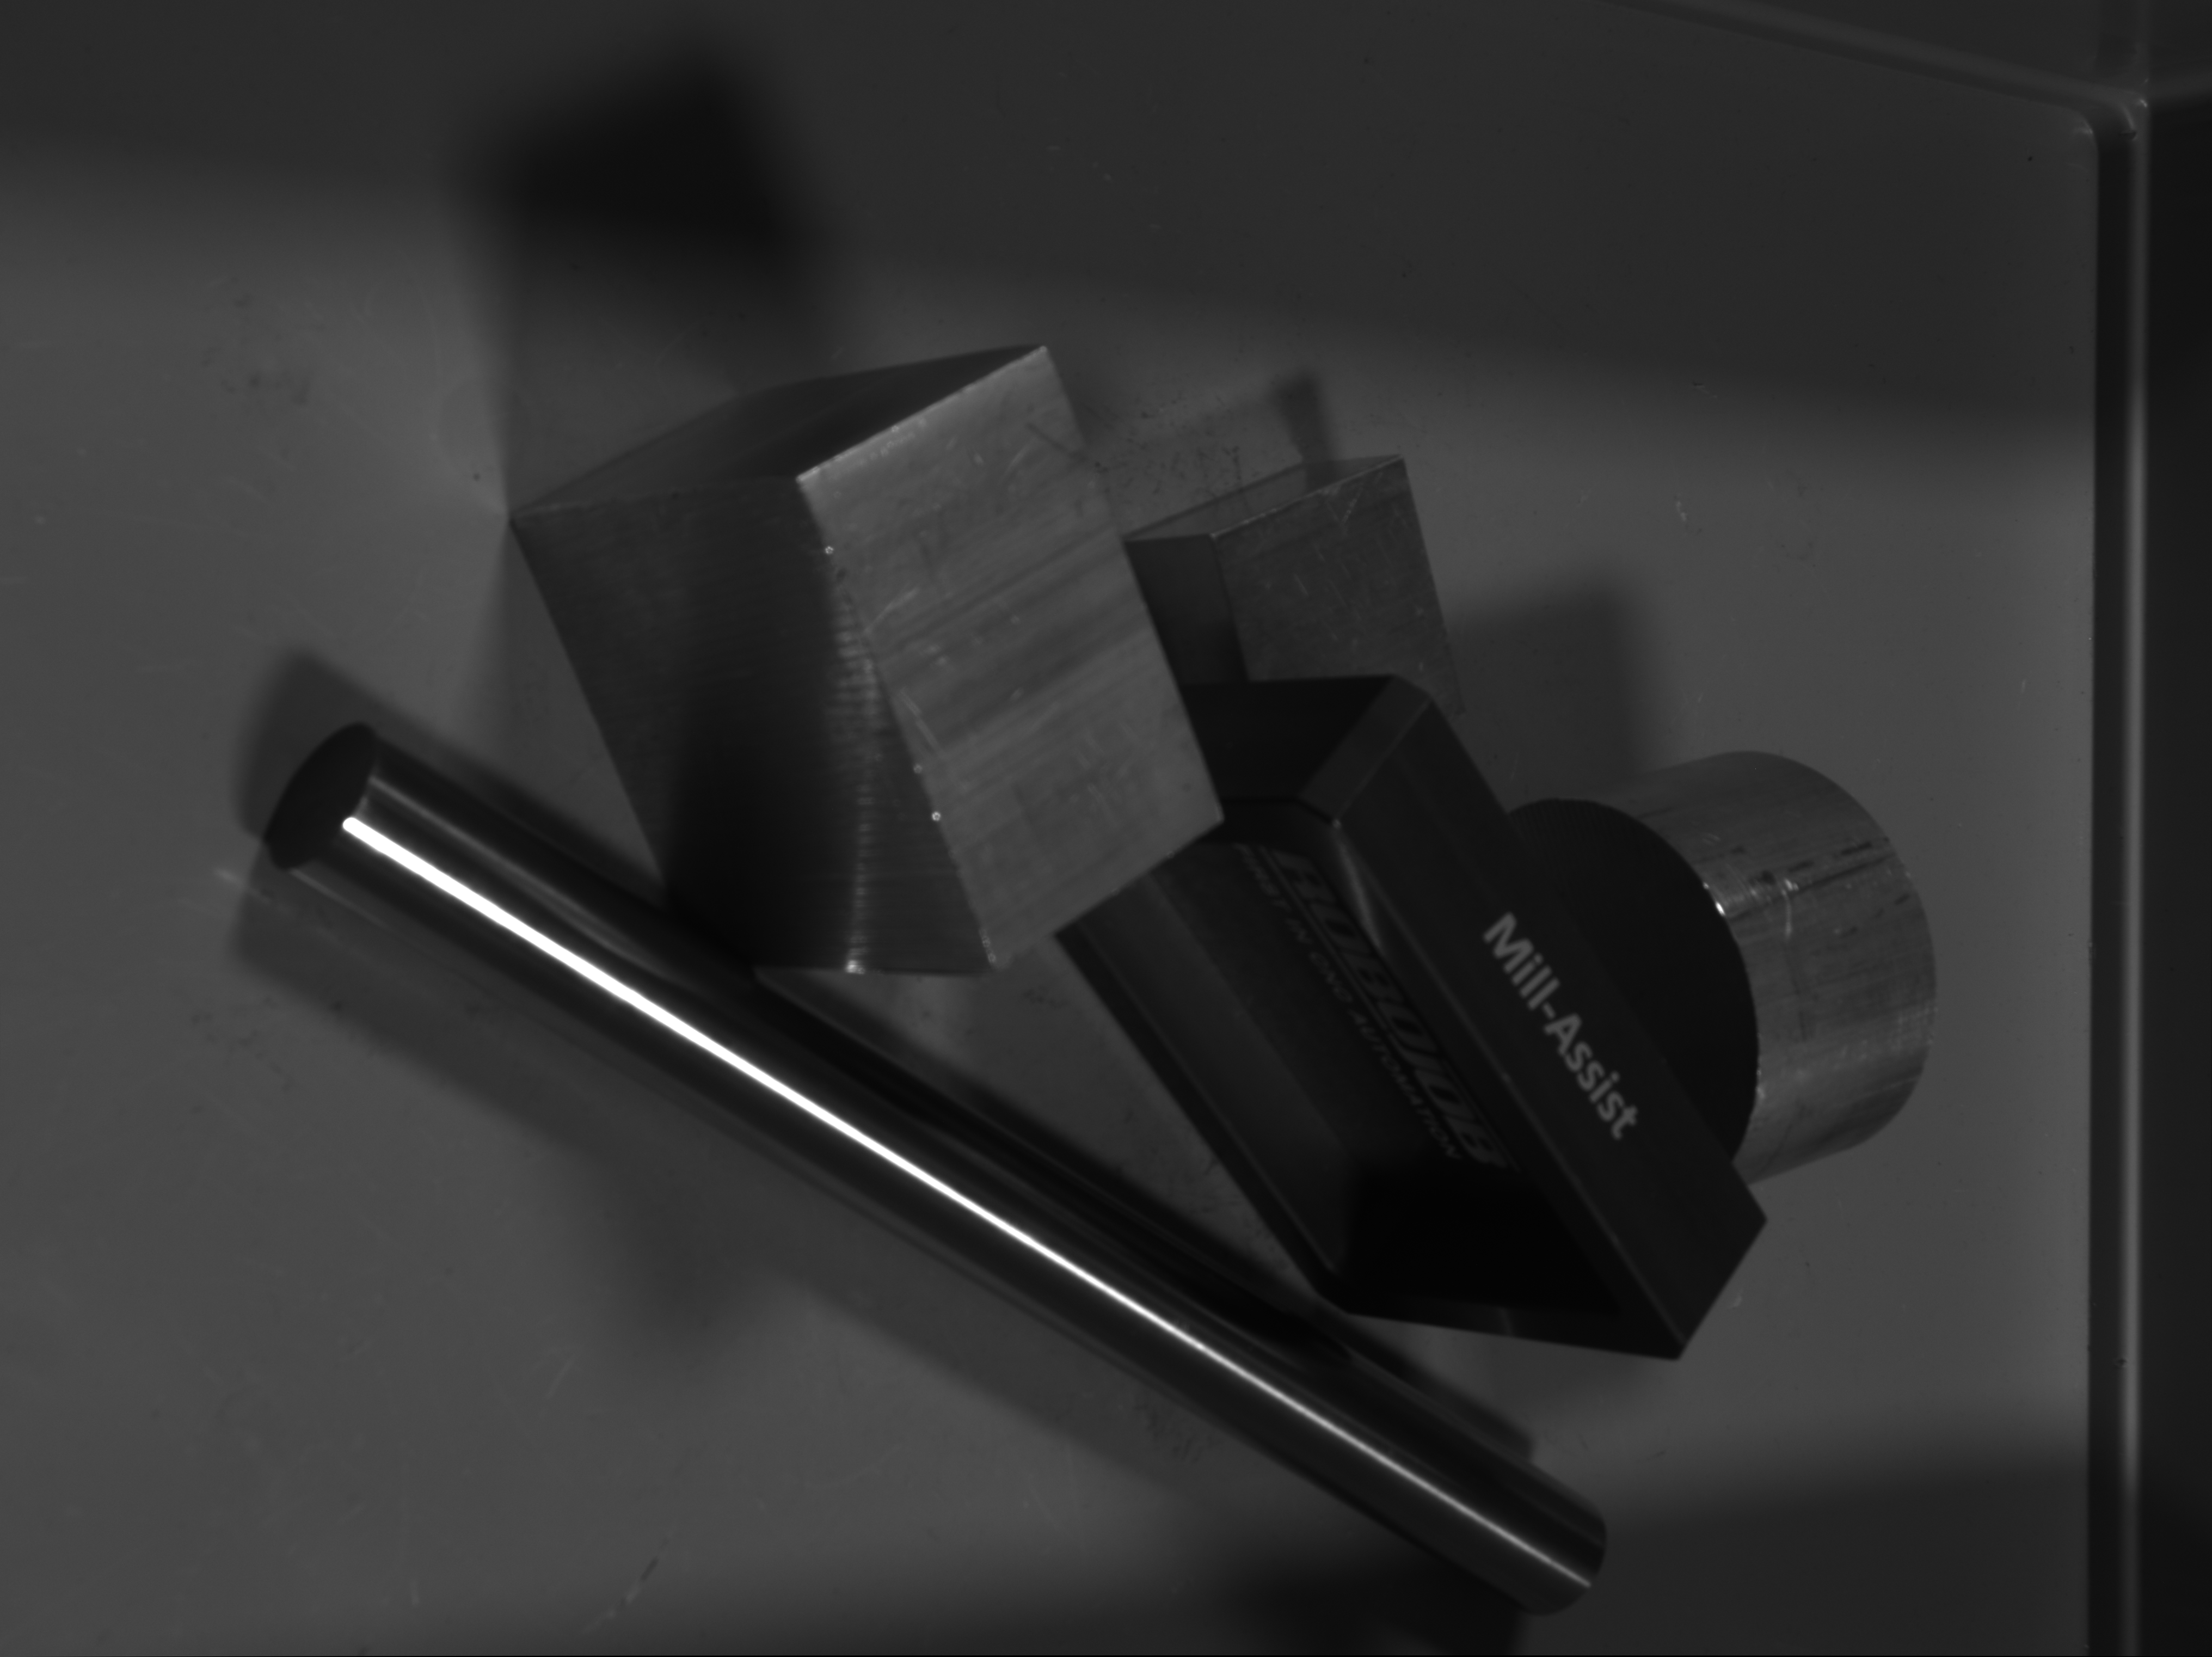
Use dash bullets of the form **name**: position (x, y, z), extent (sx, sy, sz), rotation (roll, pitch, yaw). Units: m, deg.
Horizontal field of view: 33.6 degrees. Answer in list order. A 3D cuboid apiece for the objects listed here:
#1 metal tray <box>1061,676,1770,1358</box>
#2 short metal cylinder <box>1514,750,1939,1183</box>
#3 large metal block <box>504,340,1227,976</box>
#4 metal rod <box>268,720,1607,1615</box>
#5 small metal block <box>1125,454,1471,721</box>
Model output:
- **metal tray**: position (0.046, 0.033, 0.631), extent (0.030, 0.090, 0.130), rotation (-51, 120, -28)
- **short metal cylinder**: position (0.109, 0.029, 0.691), extent (0.050, 0.080, 0.080), rotation (-15, 99, -38)
- **large metal block**: position (-0.038, -0.025, 0.569), extent (0.050, 0.080, 0.080), rotation (-33, 110, -35)
- **metal rod**: position (-0.014, 0.067, 0.624), extent (0.301, 0.025, 0.025), rotation (36, 68, -34)
- **small metal block**: position (0.035, -0.036, 0.663), extent (0.050, 0.025, 0.050), rotation (-25, 106, -37)
